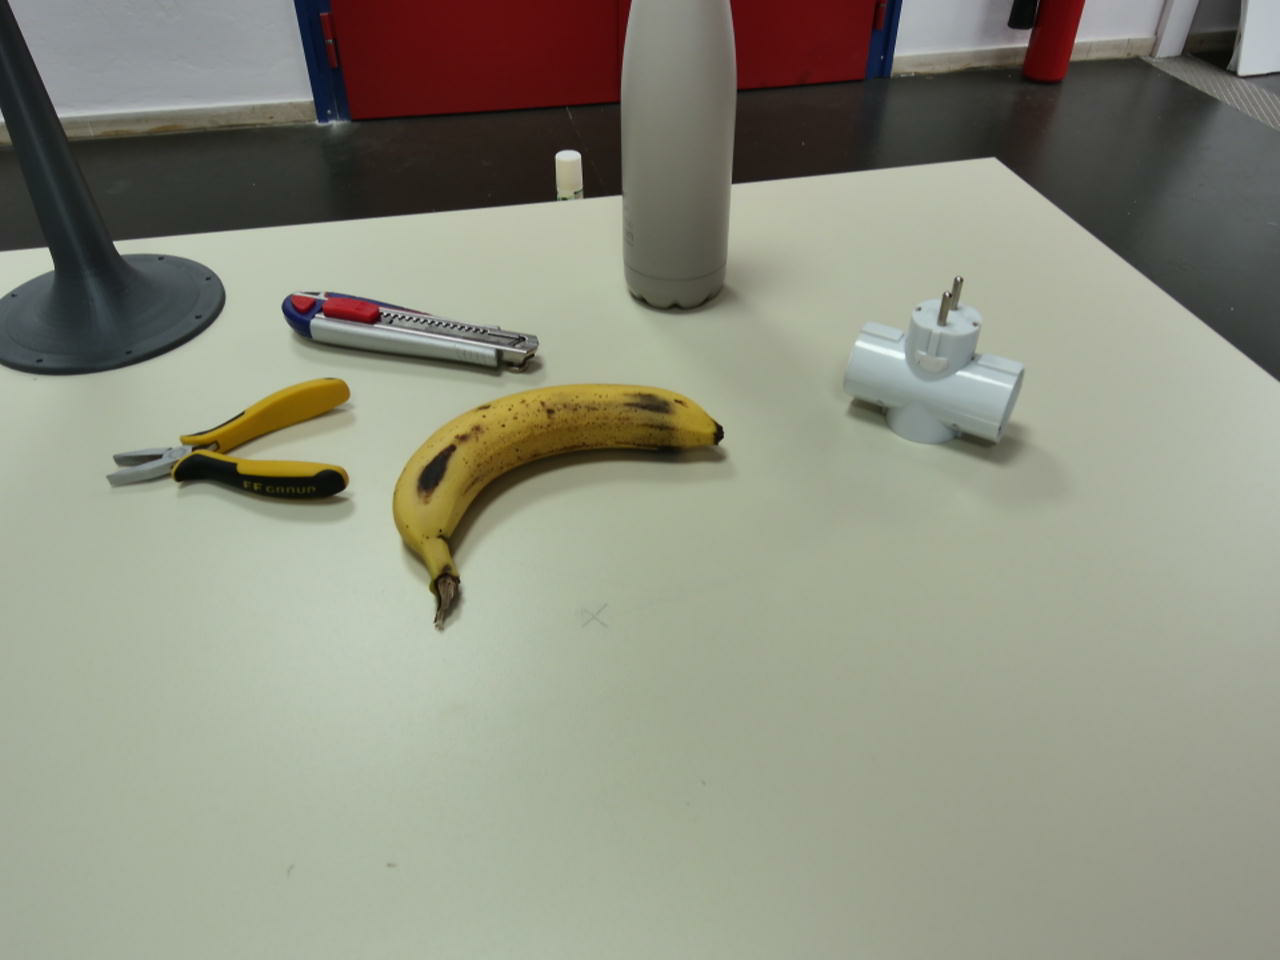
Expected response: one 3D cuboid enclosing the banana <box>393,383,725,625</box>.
[{"bbox_3d":[-0.052,-0.011,0.529,0.186,0.038,0.097,-28,47,-31],"label":"banana"}]
